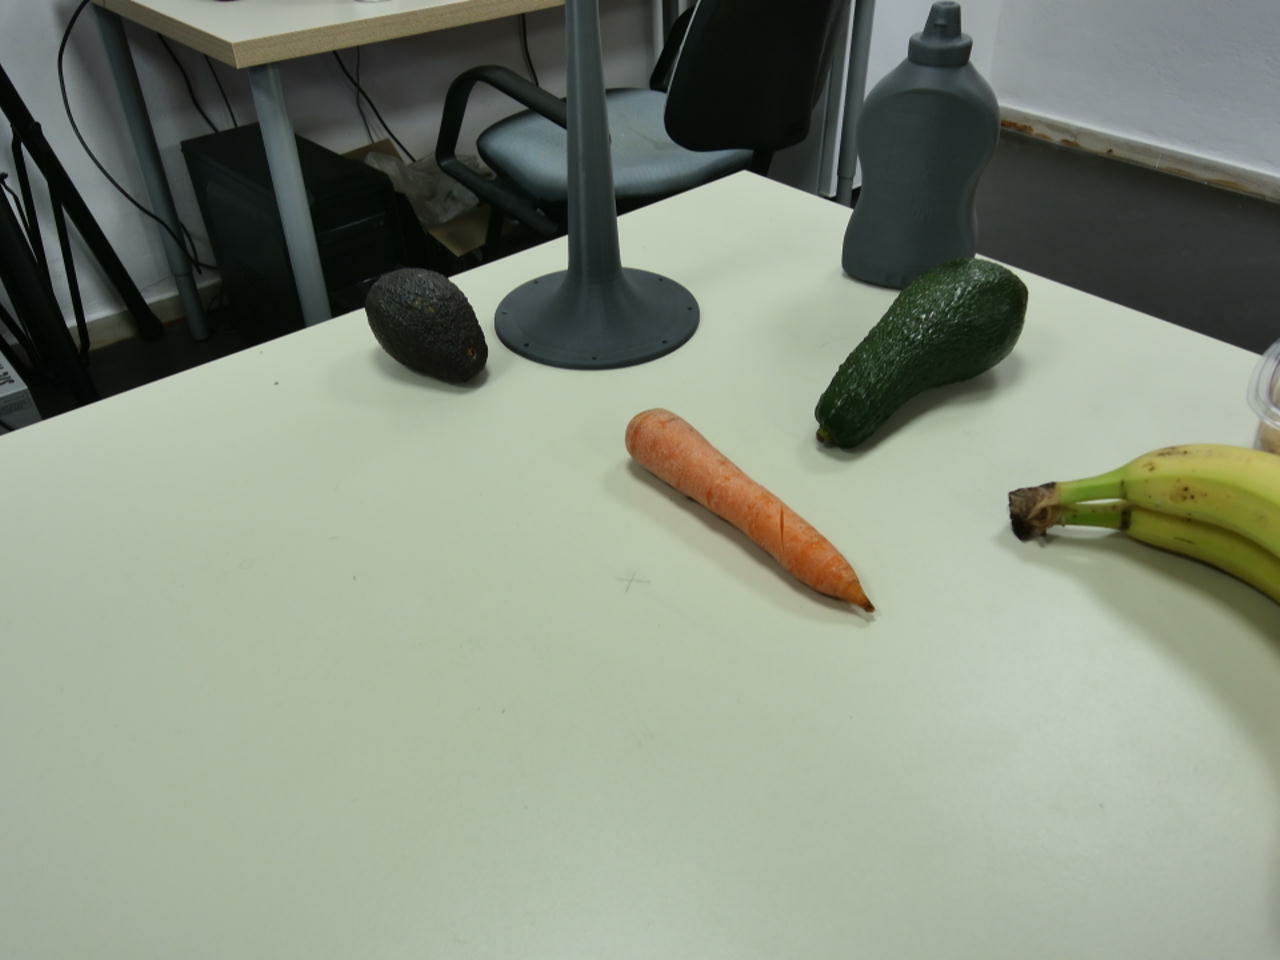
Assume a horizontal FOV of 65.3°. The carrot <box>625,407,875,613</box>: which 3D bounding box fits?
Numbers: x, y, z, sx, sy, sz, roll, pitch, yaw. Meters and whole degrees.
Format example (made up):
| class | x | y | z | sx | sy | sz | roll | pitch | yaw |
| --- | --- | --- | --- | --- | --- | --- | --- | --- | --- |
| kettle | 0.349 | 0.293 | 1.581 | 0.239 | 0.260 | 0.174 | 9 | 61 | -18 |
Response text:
| class | x | y | z | sx | sy | sz | roll | pitch | yaw |
| --- | --- | --- | --- | --- | --- | --- | --- | --- | --- |
| carrot | 0.060 | 0.011 | 0.570 | 0.039 | 0.041 | 0.196 | -26 | 44 | -31 |
